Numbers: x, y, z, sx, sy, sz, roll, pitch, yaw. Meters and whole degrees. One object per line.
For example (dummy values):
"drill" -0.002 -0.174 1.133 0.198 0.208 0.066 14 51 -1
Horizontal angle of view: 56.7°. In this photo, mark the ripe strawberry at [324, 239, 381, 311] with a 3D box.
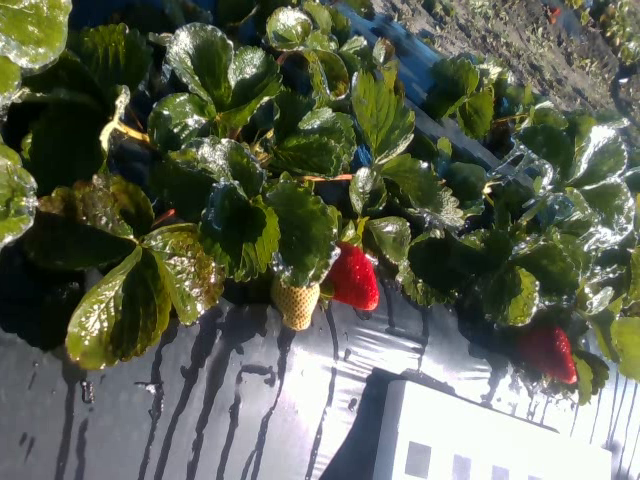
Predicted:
"ripe strawberry" 0.023 0.034 0.410 0.042 0.046 0.061 9 34 -33

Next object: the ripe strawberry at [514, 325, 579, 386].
"ripe strawberry" 0.210 0.105 0.520 0.048 0.061 0.044 18 -51 -32
